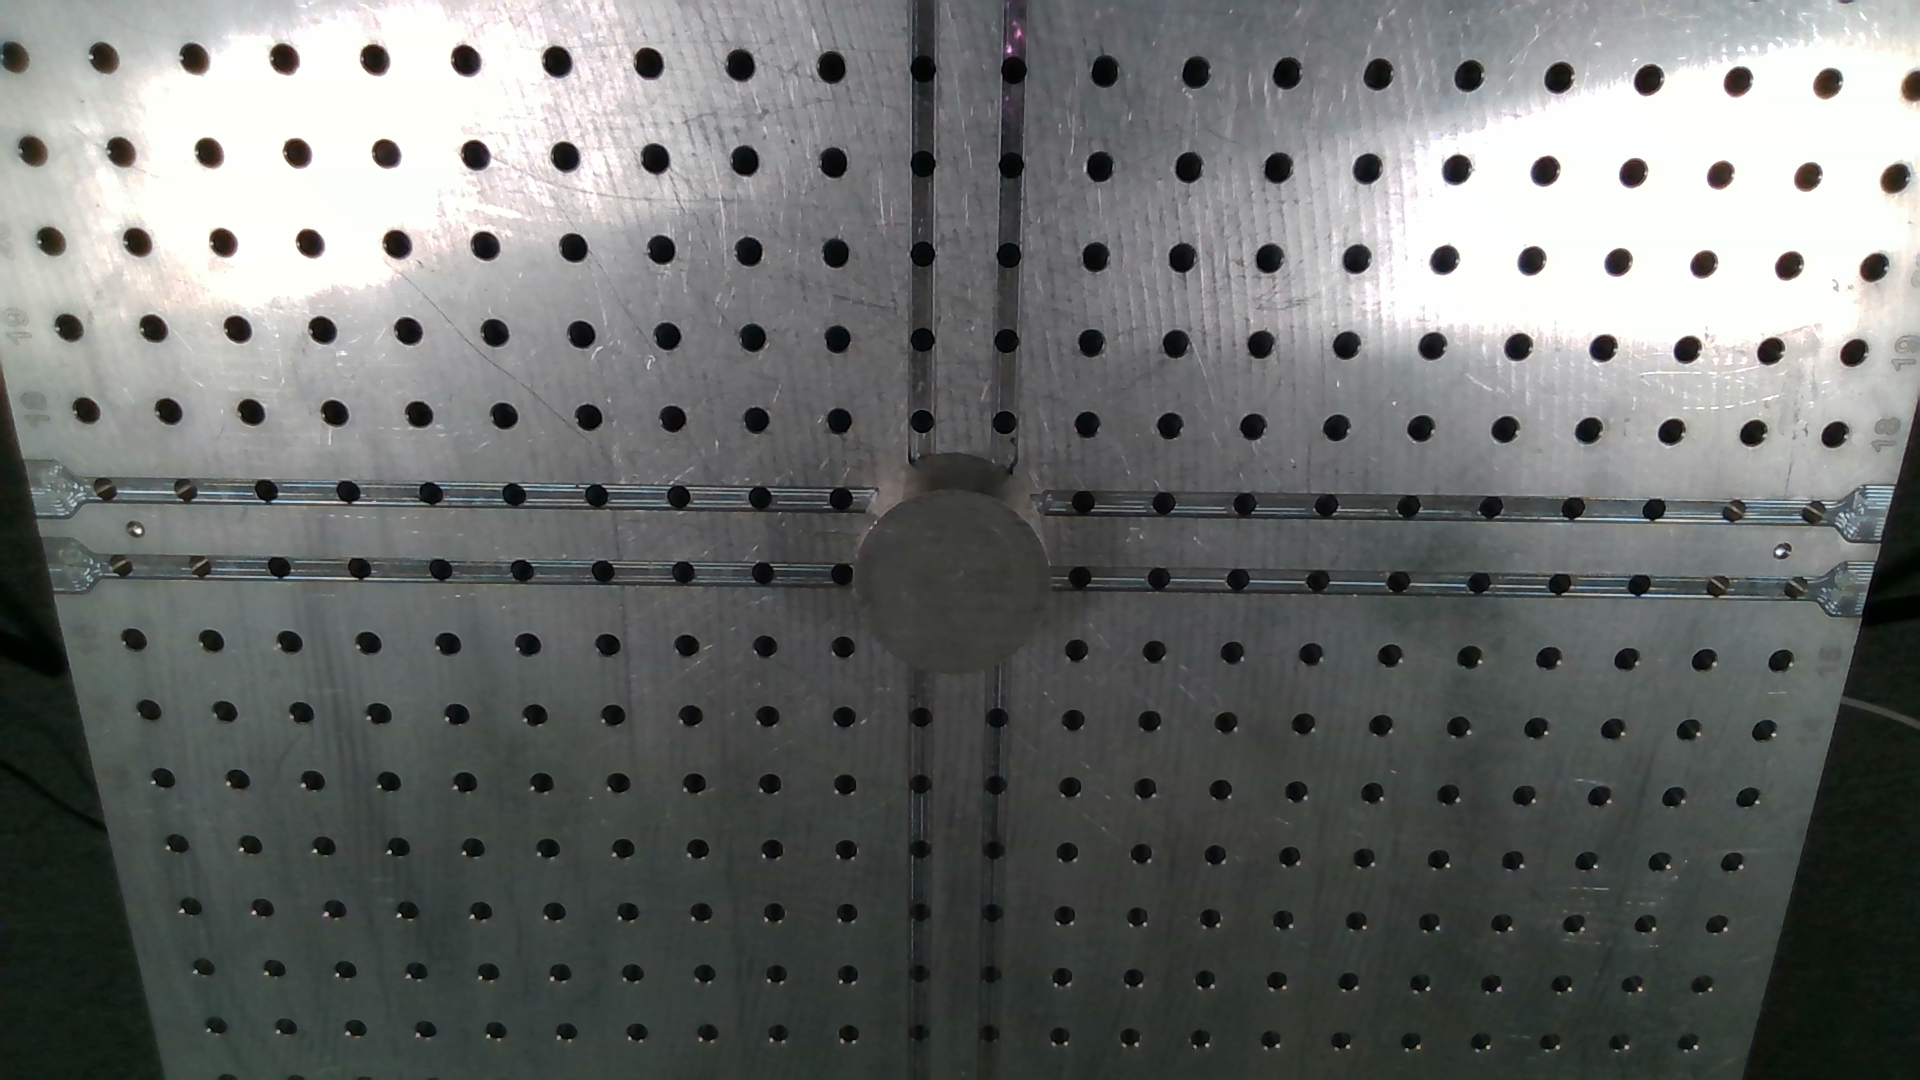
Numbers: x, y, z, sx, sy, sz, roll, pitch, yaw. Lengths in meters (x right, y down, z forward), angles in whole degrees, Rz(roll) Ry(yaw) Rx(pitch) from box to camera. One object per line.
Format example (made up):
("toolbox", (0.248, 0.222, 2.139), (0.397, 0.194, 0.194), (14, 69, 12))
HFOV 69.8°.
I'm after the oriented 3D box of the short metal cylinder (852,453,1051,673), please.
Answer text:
("short metal cylinder", (-0.003, 0.009, 0.576), (0.080, 0.050, 0.080), (0, 110, 0))
